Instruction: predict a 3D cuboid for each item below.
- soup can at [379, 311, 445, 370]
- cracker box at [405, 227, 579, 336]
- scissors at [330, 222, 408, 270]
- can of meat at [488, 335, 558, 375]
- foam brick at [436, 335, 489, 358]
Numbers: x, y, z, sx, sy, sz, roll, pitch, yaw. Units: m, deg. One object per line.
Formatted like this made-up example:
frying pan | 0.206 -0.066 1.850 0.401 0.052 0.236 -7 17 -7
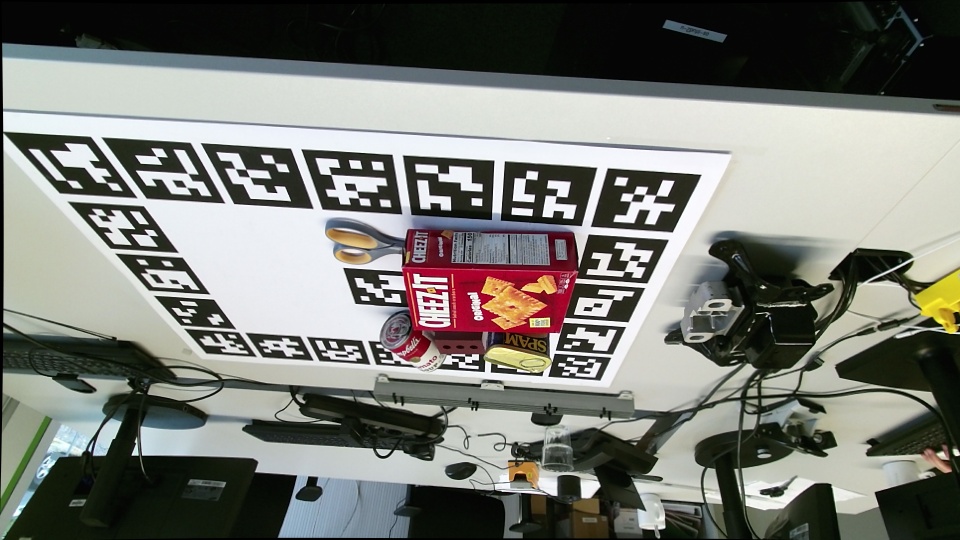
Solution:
soup can | -0.111 0.120 0.895 0.068 0.067 0.102 -22 140 29
cracker box | 0.019 0.024 0.721 0.214 0.071 0.164 -2 142 2
scissors | -0.094 -0.030 0.714 0.203 0.016 0.088 1 141 4
can of meat | 0.068 0.109 0.835 0.102 0.083 0.058 13 140 -10
foam brick | -0.028 0.108 0.873 0.078 0.051 0.053 -3 140 9
